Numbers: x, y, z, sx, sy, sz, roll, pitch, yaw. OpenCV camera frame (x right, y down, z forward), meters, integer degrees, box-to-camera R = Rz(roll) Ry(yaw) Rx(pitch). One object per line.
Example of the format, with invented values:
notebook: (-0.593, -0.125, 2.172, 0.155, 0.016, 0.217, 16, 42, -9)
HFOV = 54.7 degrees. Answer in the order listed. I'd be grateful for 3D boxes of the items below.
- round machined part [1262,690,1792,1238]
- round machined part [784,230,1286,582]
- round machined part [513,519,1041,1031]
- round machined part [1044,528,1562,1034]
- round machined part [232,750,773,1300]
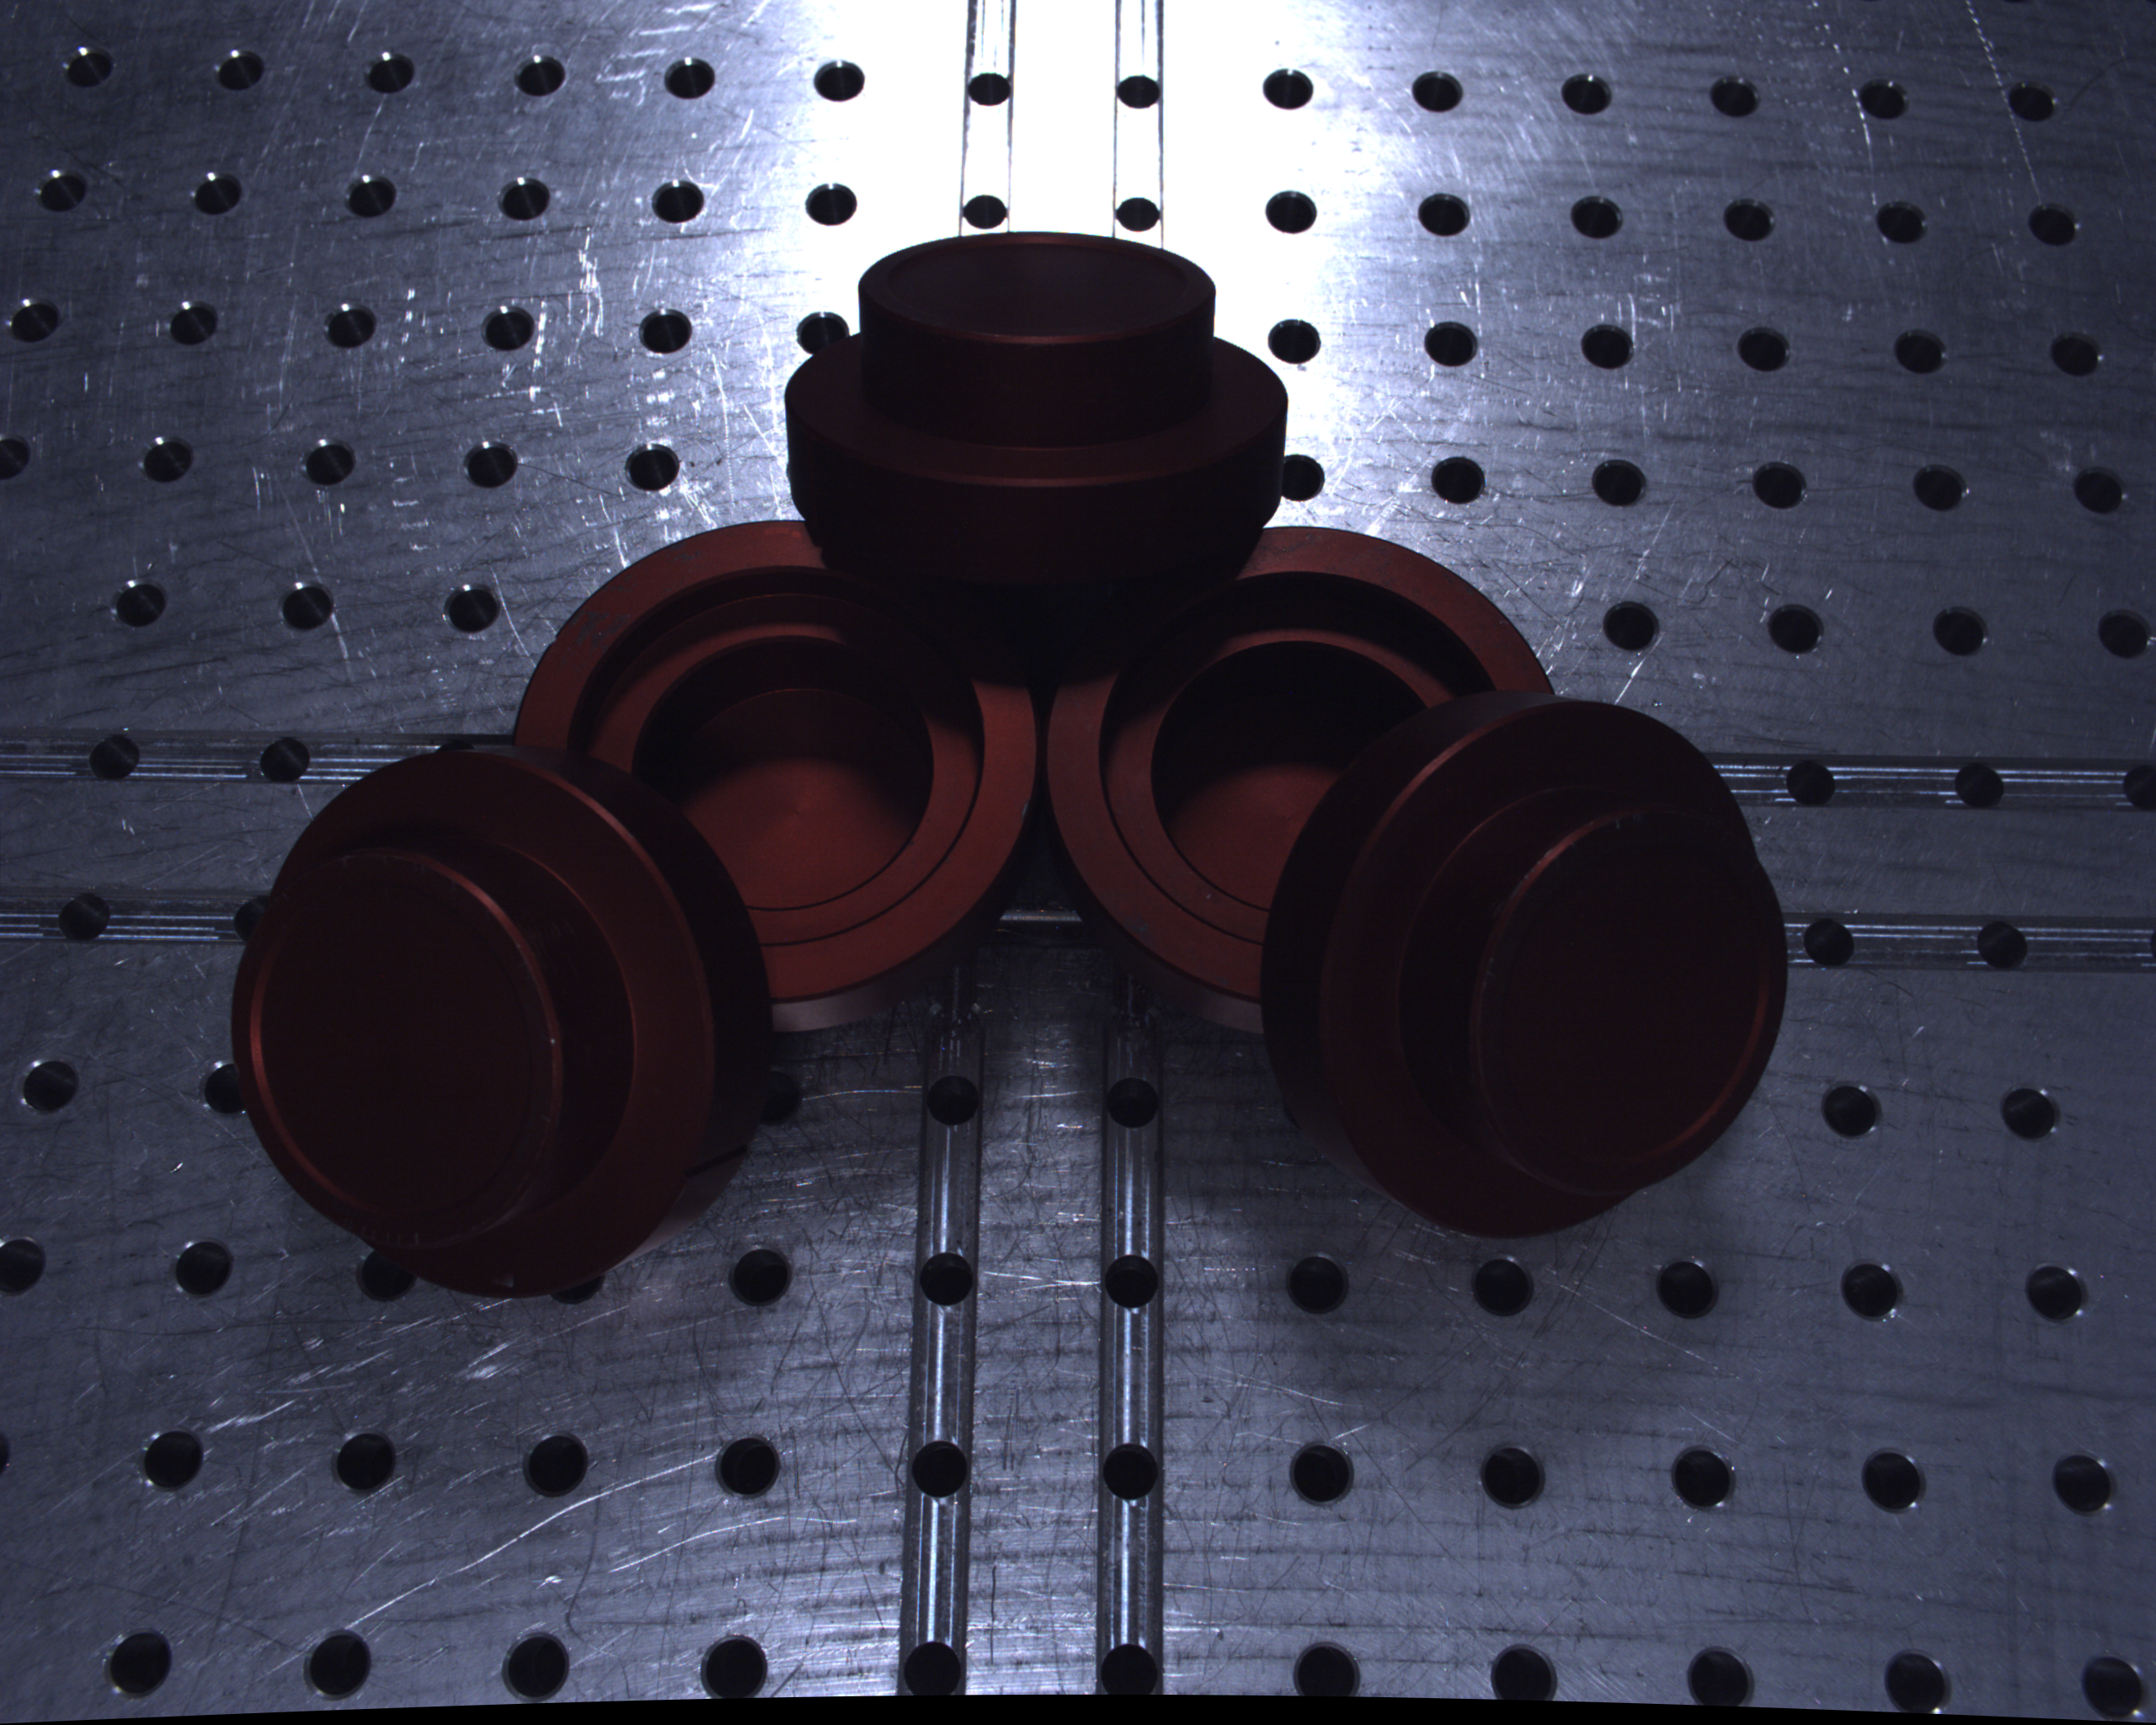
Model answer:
round machined part: (0.085, 0.020, 0.368, 0.099, 0.042, 0.097, -5, 101, -25)
round machined part: (-0.008, -0.094, 0.410, 0.099, 0.042, 0.098, 0, 32, 0)
round machined part: (-0.056, -0.014, 0.406, 0.099, 0.042, 0.098, 0, 70, -1)
round machined part: (0.043, -0.013, 0.408, 0.099, 0.042, 0.098, 0, 70, -1)
round machined part: (-0.107, 0.030, 0.366, 0.098, 0.042, 0.097, 3, 97, 22)
